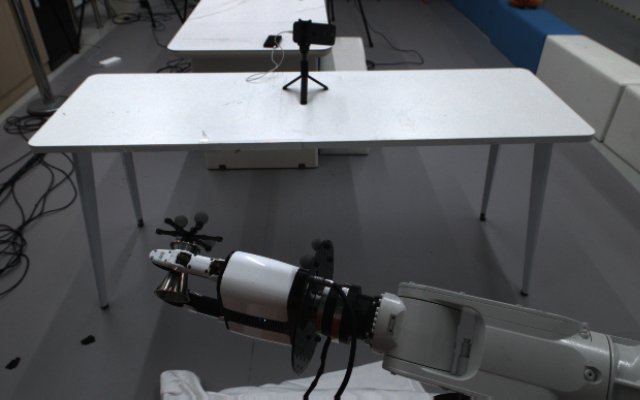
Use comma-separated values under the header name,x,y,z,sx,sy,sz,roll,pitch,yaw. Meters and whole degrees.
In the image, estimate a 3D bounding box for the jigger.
name,x,y,z,sx,sy,sz,roll,pitch,yaw
jigger,-0.181,0.090,0.614,0.043,0.043,0.071,6,60,5
